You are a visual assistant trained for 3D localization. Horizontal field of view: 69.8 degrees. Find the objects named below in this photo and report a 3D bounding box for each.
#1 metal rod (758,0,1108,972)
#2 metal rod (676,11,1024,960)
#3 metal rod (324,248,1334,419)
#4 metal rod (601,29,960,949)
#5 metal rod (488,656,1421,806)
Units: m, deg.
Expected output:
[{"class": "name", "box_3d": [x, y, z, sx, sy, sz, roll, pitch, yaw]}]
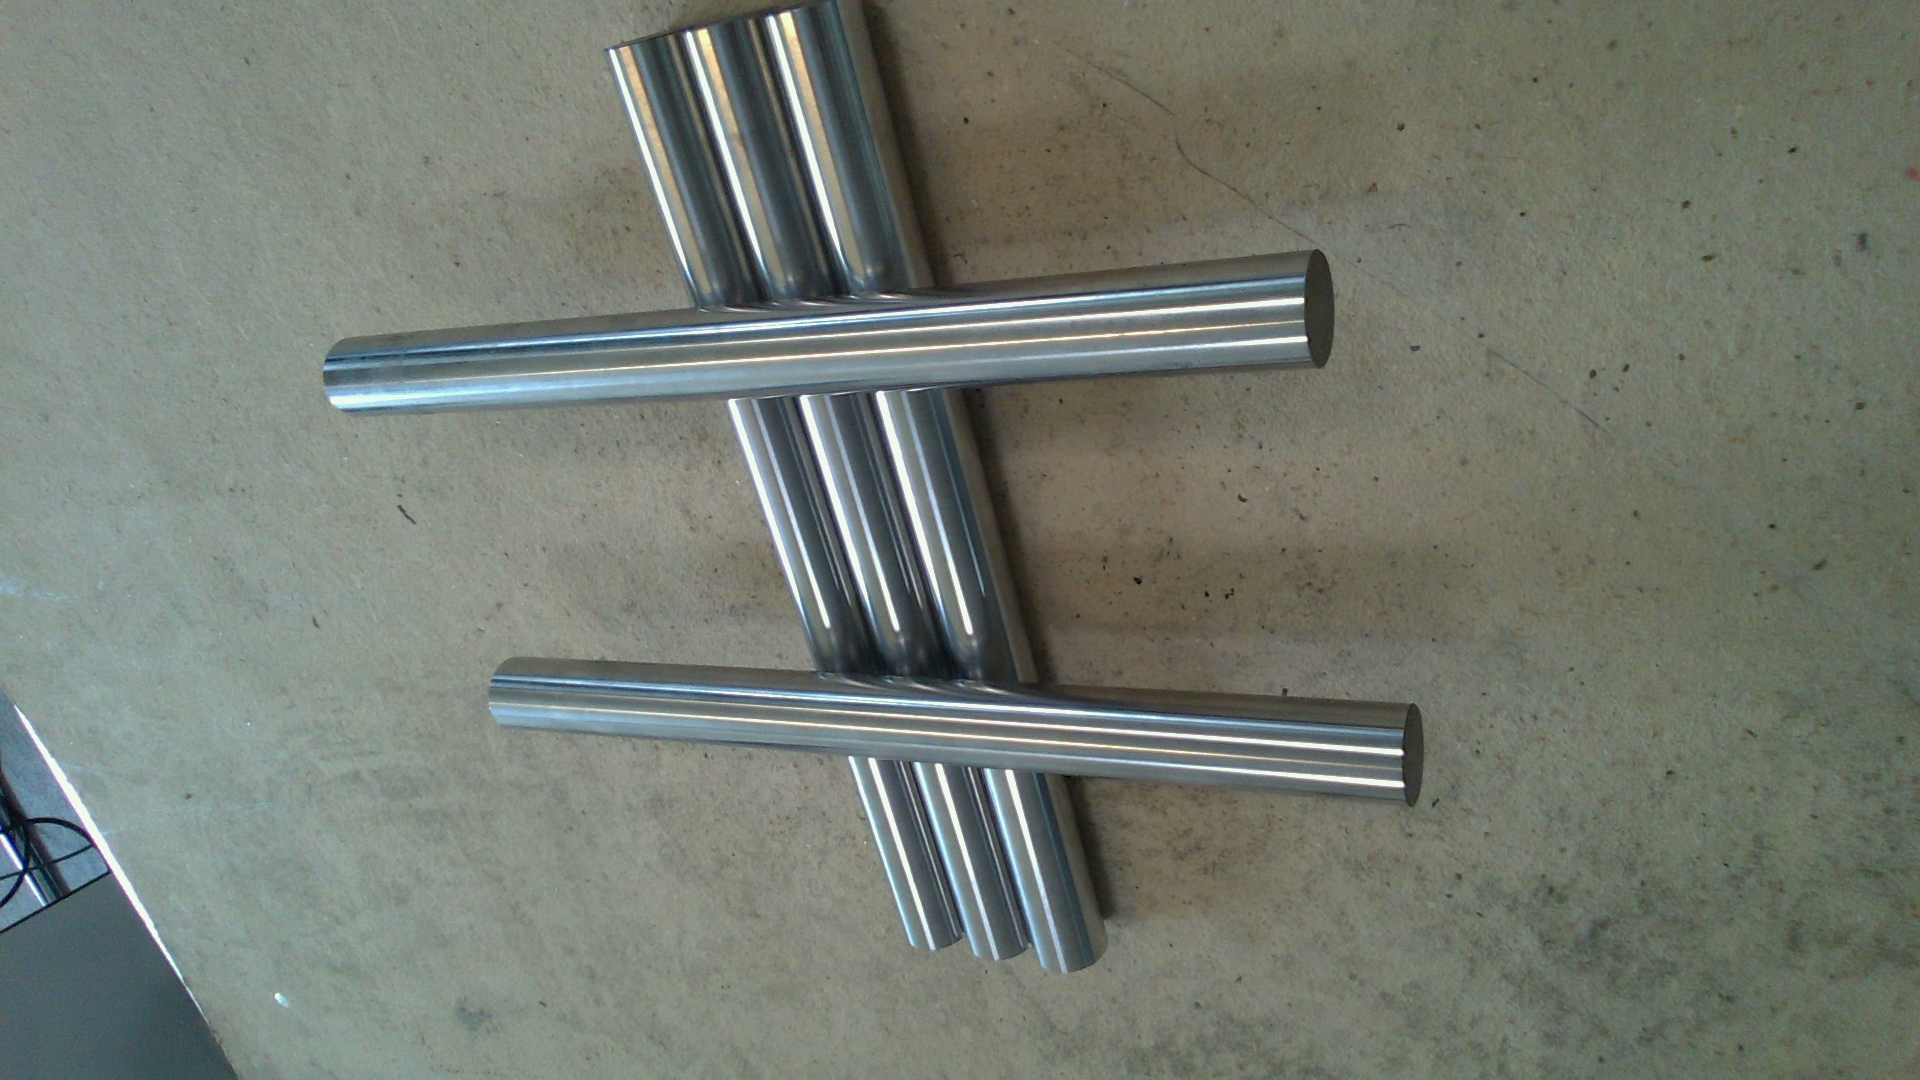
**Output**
[{"class": "metal rod", "box_3d": [0.000, 0.002, 0.395, 0.025, 0.025, 0.300, -1, 118, 29]}, {"class": "metal rod", "box_3d": [-0.022, 0.002, 0.406, 0.025, 0.025, 0.300, -1, 118, 29]}, {"class": "metal rod", "box_3d": [-0.056, -0.050, 0.360, 0.299, 0.025, 0.025, 0, 119, 28]}, {"class": "metal rod", "box_3d": [-0.044, 0.002, 0.418, 0.025, 0.025, 0.300, -1, 118, 29]}, {"class": "metal rod", "box_3d": [-0.022, 0.052, 0.405, 0.299, 0.025, 0.025, 0, 118, 28]}]
